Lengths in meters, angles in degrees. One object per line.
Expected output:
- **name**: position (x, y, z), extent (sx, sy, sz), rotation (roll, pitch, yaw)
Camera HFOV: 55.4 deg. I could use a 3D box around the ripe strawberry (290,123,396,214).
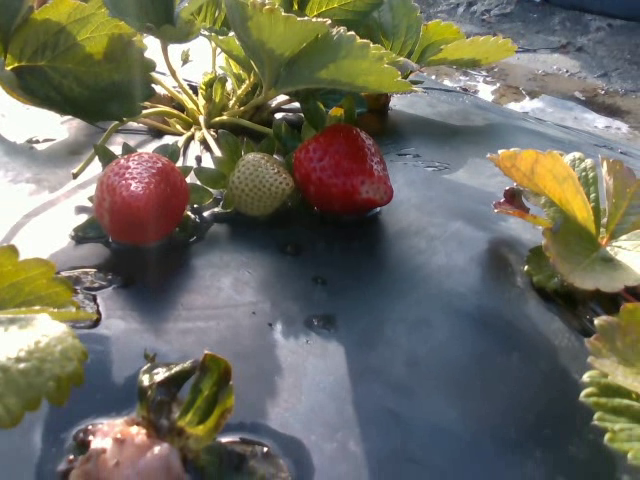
- **ripe strawberry**: position (0.014, -0.031, 0.285), extent (0.050, 0.049, 0.065), rotation (38, 8, -49)
